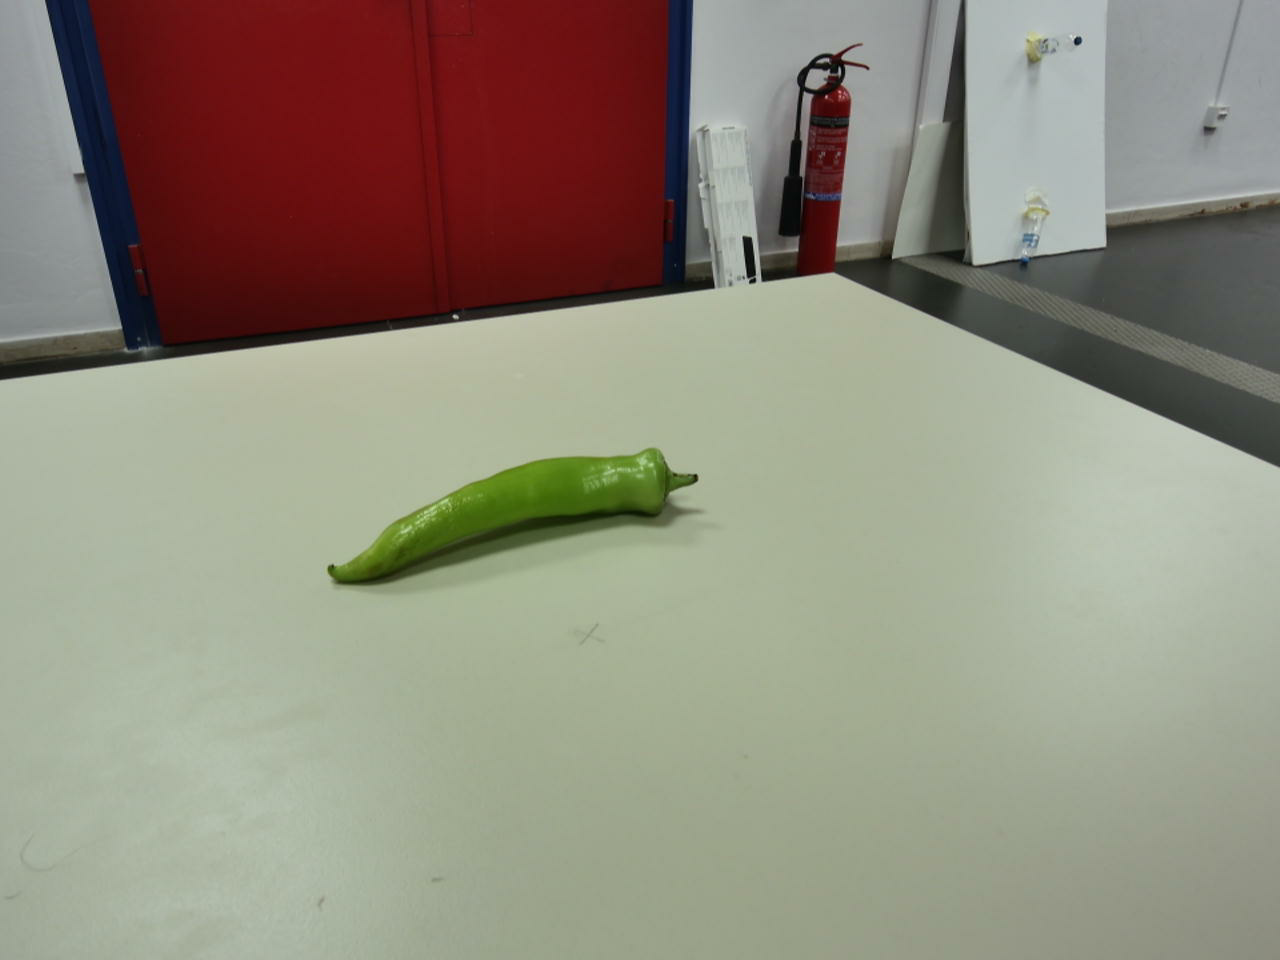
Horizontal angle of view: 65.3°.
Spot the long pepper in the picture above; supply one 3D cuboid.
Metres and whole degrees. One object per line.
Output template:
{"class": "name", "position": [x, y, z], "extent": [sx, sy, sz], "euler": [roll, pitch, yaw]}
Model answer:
{"class": "long pepper", "position": [-0.064, 0.013, 0.519], "extent": [0.197, 0.038, 0.047], "euler": [-10, 28, -21]}
